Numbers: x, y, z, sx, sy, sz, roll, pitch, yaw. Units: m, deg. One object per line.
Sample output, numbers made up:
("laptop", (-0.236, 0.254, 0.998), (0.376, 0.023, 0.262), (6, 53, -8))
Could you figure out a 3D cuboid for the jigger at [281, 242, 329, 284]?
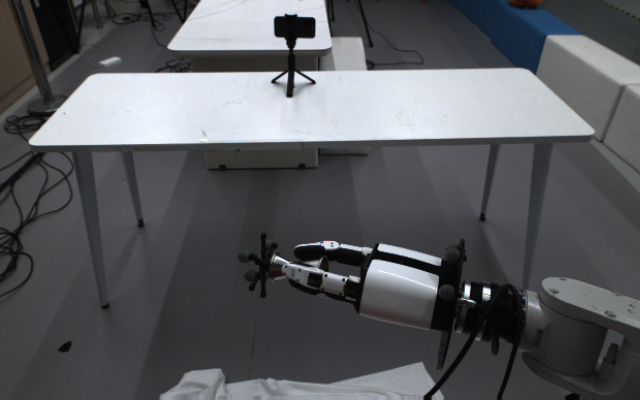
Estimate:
("jigger", (-0.019, 0.086, 0.635), (0.071, 0.043, 0.043), (3, 34, 17))
